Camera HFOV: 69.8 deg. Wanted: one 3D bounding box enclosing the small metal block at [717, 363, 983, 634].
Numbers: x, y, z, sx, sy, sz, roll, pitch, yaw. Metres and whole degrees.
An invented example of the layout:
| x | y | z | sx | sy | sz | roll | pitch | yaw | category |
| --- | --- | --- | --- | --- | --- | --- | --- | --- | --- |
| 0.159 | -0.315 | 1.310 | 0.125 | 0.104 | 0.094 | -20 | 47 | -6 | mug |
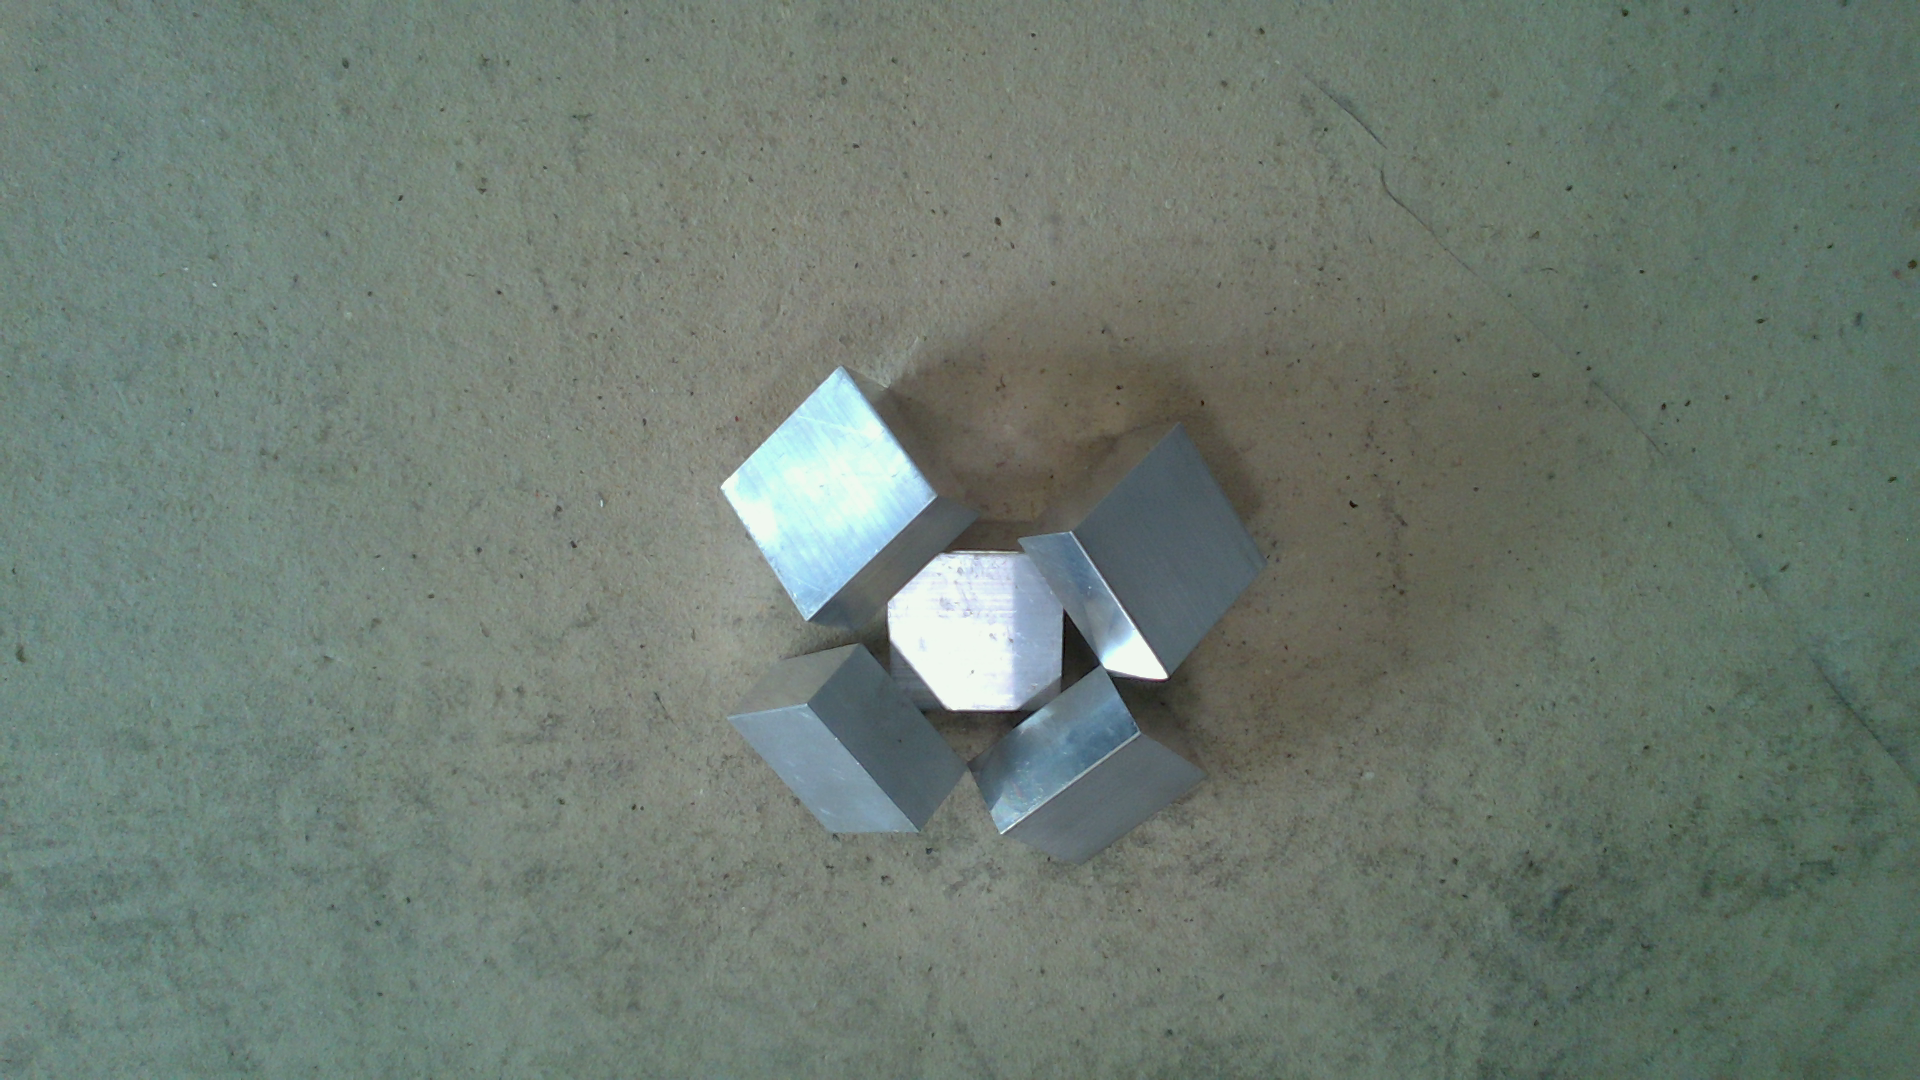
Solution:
| x | y | z | sx | sy | sz | roll | pitch | yaw | category |
| --- | --- | --- | --- | --- | --- | --- | --- | --- | --- |
| -0.031 | -0.011 | 0.377 | 0.050 | 0.025 | 0.050 | -43 | 63 | 14 | small metal block |

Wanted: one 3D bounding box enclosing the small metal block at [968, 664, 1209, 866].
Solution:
| x | y | z | sx | sy | sz | roll | pitch | yaw | category |
| --- | --- | --- | --- | --- | --- | --- | --- | --- | --- |
| 0.038 | 0.068 | 0.406 | 0.050 | 0.025 | 0.050 | -38 | 143 | 13 | small metal block |

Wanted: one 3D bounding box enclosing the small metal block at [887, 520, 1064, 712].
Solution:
| x | y | z | sx | sy | sz | roll | pitch | yaw | category |
| --- | --- | --- | --- | --- | --- | --- | --- | --- | --- |
| 0.004 | 0.022 | 0.402 | 0.050 | 0.025 | 0.050 | -1 | 110 | -1 | small metal block |

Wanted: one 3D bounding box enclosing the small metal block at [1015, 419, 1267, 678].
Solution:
| x | y | z | sx | sy | sz | roll | pitch | yaw | category |
| --- | --- | --- | --- | --- | --- | --- | --- | --- | --- |
| 0.051 | 0.003 | 0.383 | 0.050 | 0.025 | 0.050 | -44 | 110 | -28 | small metal block |

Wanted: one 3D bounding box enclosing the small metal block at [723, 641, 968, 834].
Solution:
| x | y | z | sx | sy | sz | roll | pitch | yaw | category |
| --- | --- | --- | --- | --- | --- | --- | --- | --- | --- |
| -0.034 | 0.059 | 0.402 | 0.050 | 0.025 | 0.050 | 51 | 146 | -16 | small metal block |
